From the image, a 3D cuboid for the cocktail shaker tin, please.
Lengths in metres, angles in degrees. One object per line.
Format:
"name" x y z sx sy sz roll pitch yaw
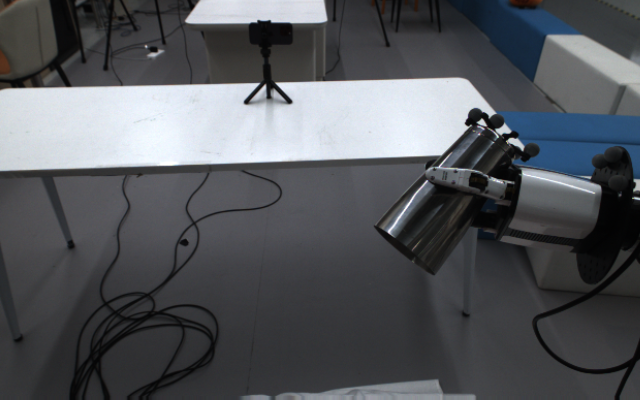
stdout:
"cocktail shaker tin" 0.156 -0.008 0.582 0.170 0.093 0.093 -48 49 -3
